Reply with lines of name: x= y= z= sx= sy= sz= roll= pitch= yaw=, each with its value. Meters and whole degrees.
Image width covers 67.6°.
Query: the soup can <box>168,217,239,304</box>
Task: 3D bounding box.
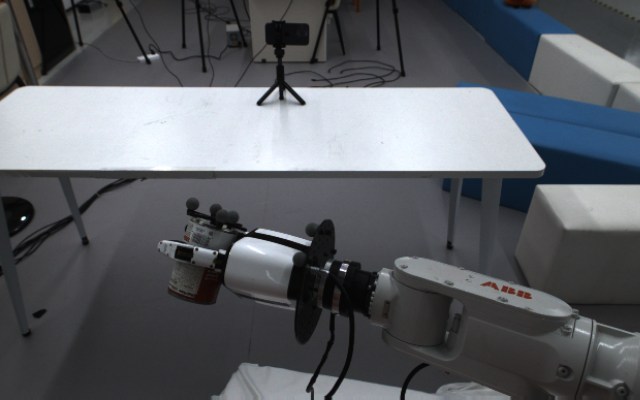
soup can: x=-0.154 y=0.081 z=0.643 sx=0.067 sy=0.101 sz=0.067 roll=18 pitch=-1 yaw=0
